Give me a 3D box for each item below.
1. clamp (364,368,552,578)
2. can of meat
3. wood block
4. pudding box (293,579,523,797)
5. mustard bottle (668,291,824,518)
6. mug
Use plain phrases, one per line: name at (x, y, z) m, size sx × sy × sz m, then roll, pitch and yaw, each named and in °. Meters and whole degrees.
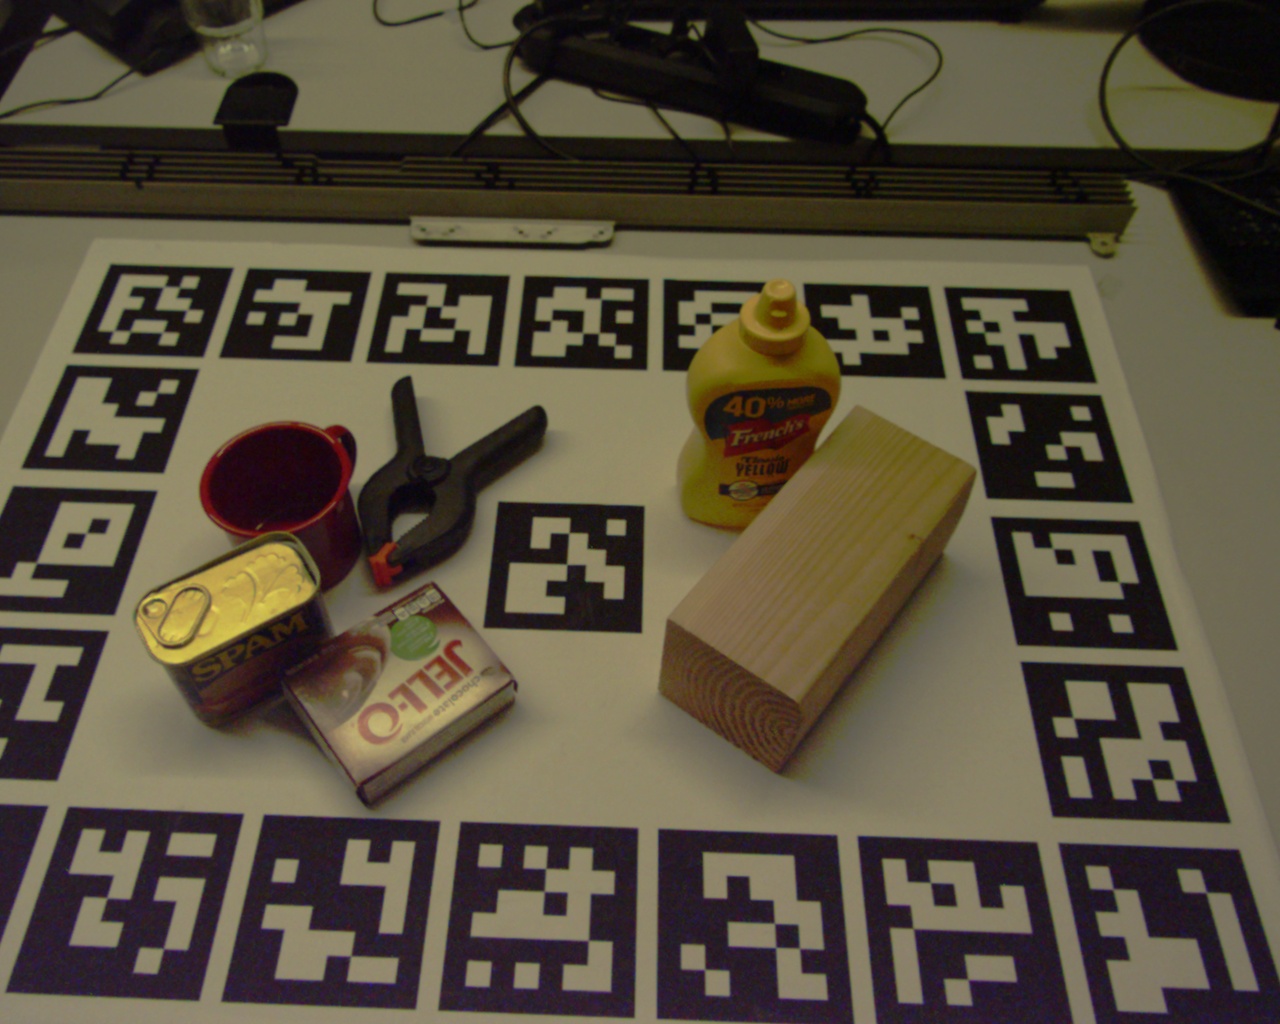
clamp at (-0.146, -0.027, 0.817) m, size 0.122 × 0.036 × 0.165 m, roll 18°, pitch 58°, yaw 10°
can of meat at (-0.240, 0.073, 0.704) m, size 0.101 × 0.083 × 0.058 m, roll -25°, pitch 60°, yaw -18°
wood block at (0.109, 0.047, 0.733) m, size 0.091 × 0.090 × 0.205 m, roll 32°, pitch 58°, yaw 22°
pudding box at (-0.143, 0.108, 0.714) m, size 0.113 × 0.038 × 0.091 m, roll -33°, pitch 62°, yaw -23°
mustard bottle at (0.070, -0.071, 0.749) m, size 0.096 × 0.191 × 0.059 m, roll -3°, pitch 55°, yaw -3°
mug at (-0.229, 0.001, 0.790) m, size 0.094 × 0.081 × 0.117 m, roll 20°, pitch 58°, yaw 12°
